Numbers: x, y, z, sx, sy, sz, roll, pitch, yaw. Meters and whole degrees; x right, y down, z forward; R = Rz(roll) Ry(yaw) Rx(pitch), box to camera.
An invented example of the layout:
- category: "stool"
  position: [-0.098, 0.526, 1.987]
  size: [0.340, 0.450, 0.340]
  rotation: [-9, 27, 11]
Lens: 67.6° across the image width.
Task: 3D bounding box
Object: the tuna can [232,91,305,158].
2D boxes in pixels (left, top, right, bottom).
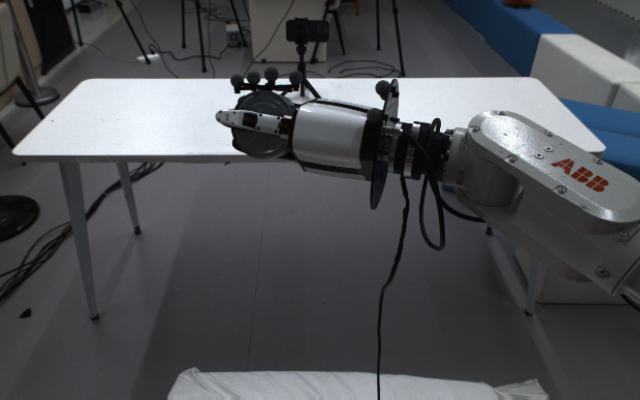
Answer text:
- category: "tuna can"
  position: [-0.068, -0.096, 0.624]
  size: [0.085, 0.085, 0.034]
  rotation: [12, 8, 14]
